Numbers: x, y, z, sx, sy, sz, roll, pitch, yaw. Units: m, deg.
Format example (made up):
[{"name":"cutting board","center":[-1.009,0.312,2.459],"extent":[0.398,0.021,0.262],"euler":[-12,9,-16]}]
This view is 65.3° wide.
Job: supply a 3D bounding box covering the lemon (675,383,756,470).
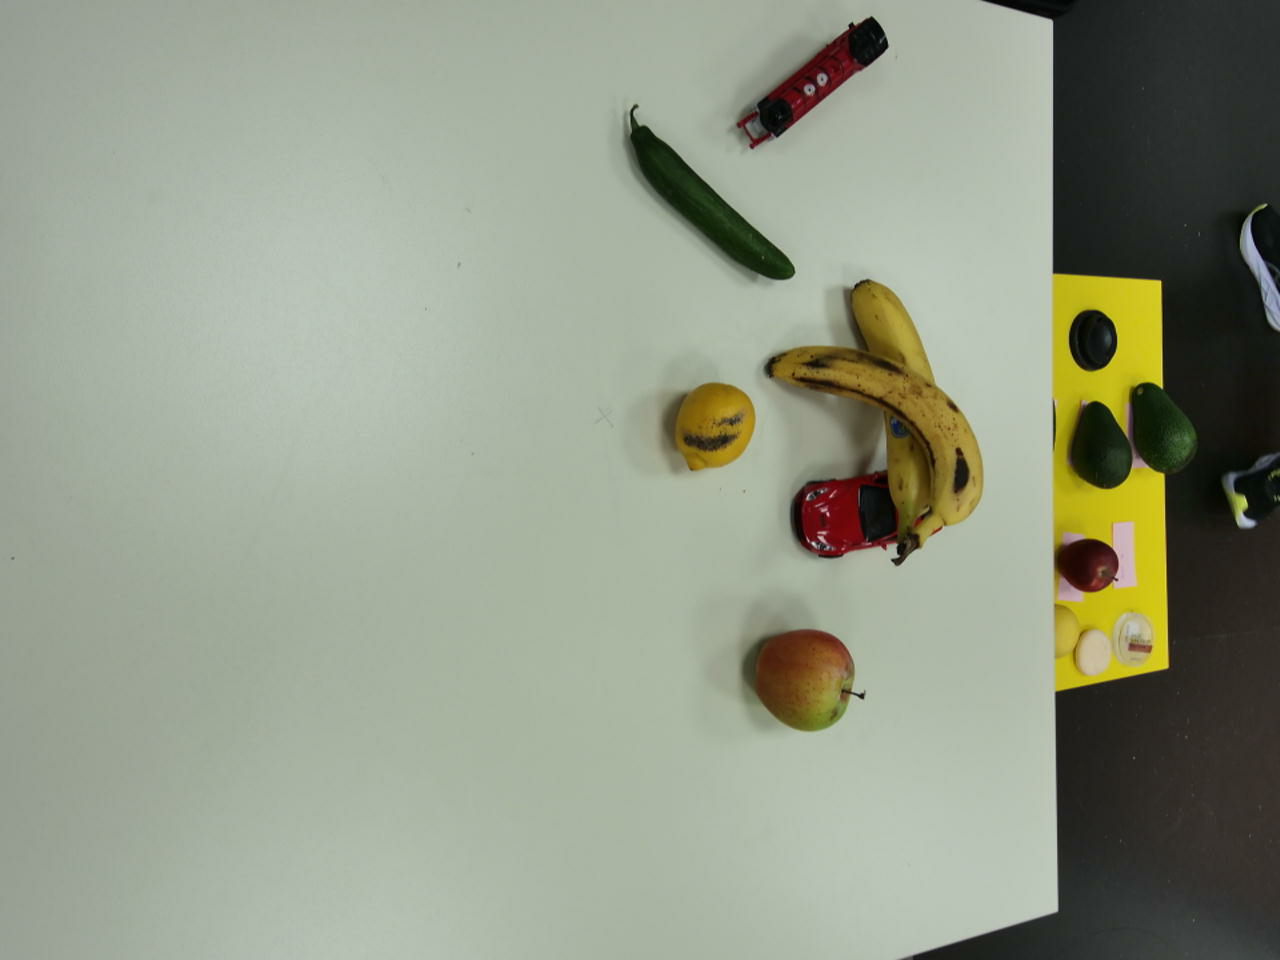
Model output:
[{"name":"lemon","center":[0.054,-0.040,0.719],"extent":[0.058,0.056,0.061],"euler":[-10,95,-28]}]
